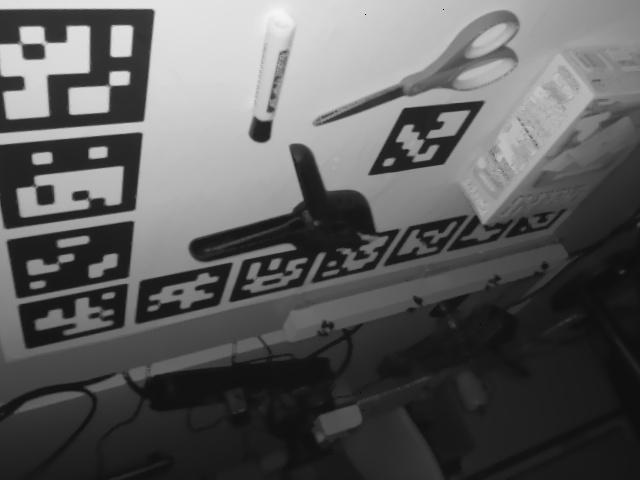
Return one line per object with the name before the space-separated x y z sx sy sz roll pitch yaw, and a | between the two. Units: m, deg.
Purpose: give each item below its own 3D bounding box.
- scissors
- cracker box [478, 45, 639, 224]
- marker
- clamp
scissors | 0.098 -0.136 0.606 0.203 0.016 0.087 -23 154 2
cracker box | 0.297 -0.112 0.757 0.166 0.072 0.210 -10 149 -26
marker | -0.029 -0.114 0.541 0.020 0.019 0.119 -13 151 -21
clamp | 0.005 -0.027 0.733 0.163 0.037 0.205 -39 149 29
